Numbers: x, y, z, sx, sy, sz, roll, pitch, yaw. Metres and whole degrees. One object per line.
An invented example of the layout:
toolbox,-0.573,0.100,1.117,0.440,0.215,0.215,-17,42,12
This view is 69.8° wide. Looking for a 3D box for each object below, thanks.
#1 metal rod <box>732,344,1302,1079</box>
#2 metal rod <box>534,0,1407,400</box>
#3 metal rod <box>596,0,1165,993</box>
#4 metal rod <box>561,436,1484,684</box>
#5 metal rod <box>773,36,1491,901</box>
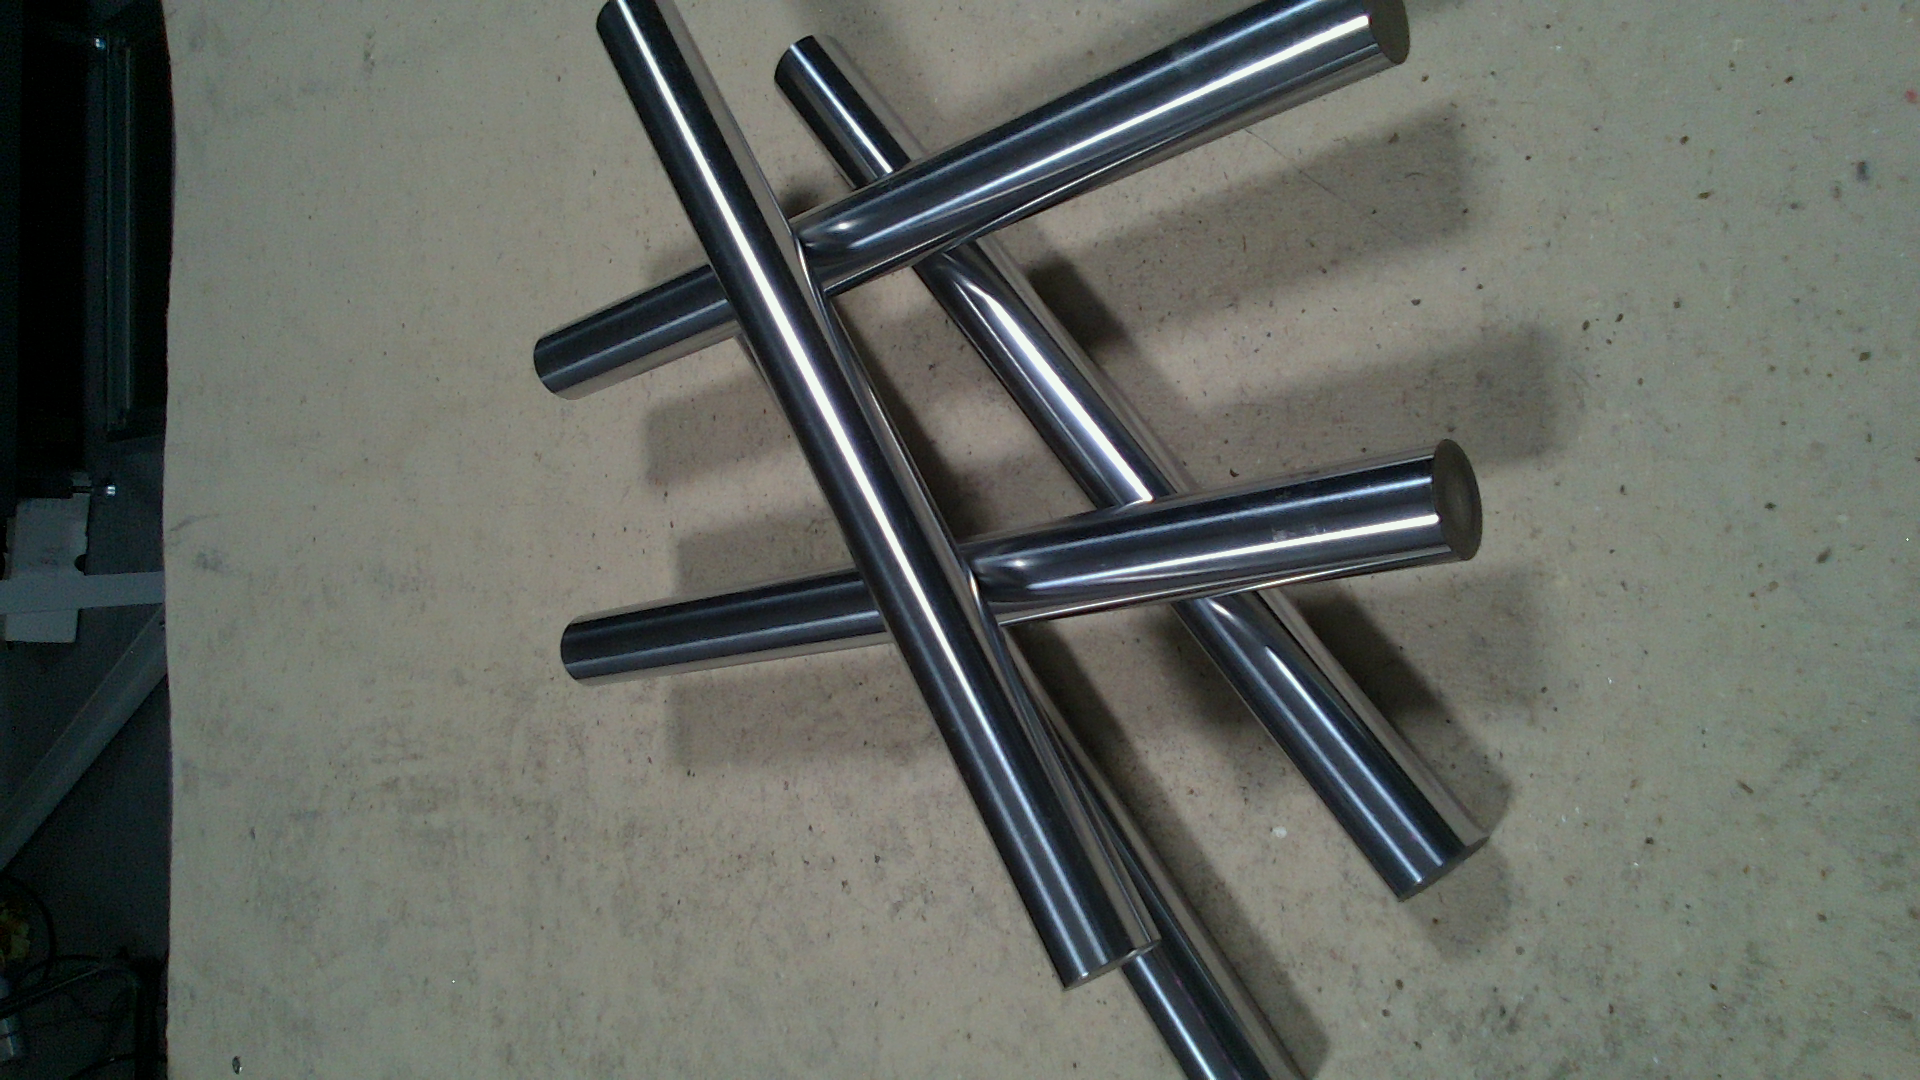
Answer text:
metal rod,-0.001,0.025,0.395,0.025,0.025,0.300,-48,61,29
metal rod,-0.024,-0.086,0.383,0.299,0.025,0.025,-13,82,39
metal rod,-0.031,-0.030,0.356,0.025,0.025,0.300,-42,65,32
metal rod,-0.012,0.014,0.373,0.299,0.025,0.025,-12,83,40
metal rod,0.030,-0.038,0.370,0.025,0.025,0.299,-50,60,28
